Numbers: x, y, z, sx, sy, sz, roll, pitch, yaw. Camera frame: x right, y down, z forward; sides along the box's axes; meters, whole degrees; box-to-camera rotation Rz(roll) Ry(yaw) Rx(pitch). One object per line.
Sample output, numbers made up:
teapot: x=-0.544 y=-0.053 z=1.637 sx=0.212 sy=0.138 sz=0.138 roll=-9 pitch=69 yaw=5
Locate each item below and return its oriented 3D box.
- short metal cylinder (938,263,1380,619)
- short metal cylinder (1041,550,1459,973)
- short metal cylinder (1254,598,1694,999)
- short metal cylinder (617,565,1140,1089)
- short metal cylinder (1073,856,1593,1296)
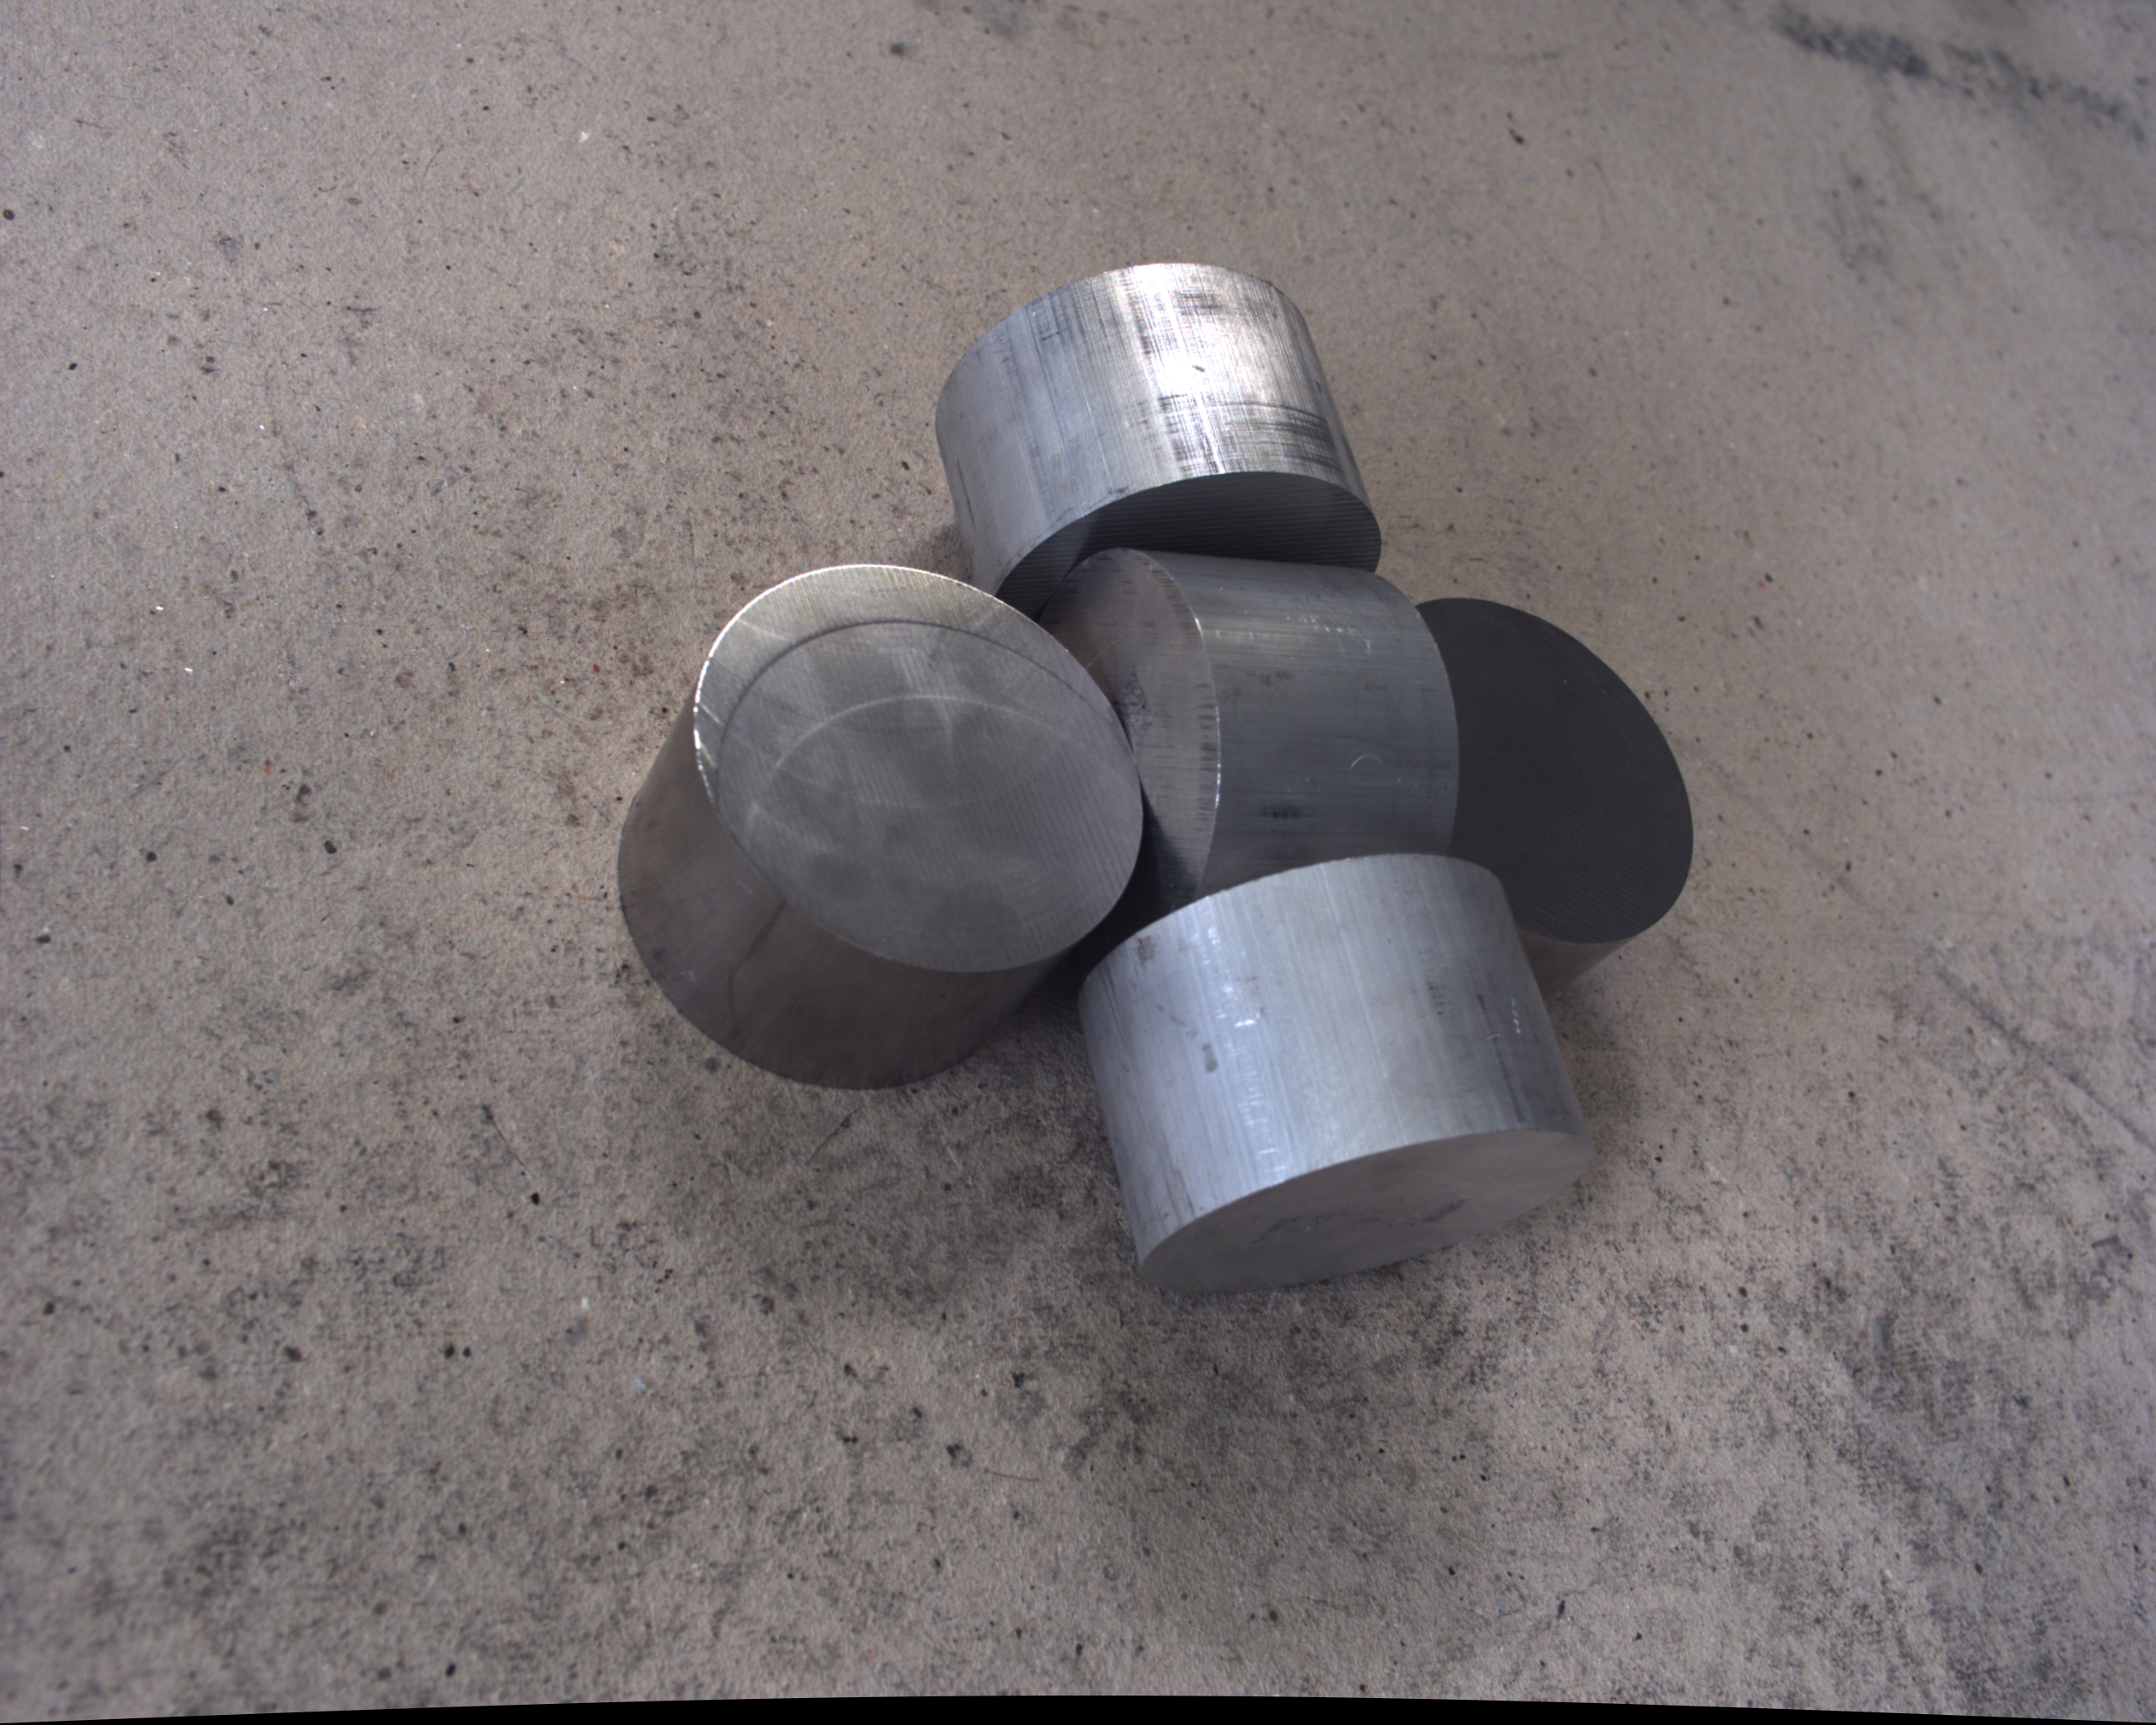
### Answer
short metal cylinder: x=0.015 y=-0.075 z=0.424 sx=0.081 sy=0.080 sz=0.050 roll=0 pitch=62 yaw=-28
short metal cylinder: x=0.027 y=-0.017 z=0.396 sx=0.050 sy=0.080 sz=0.080 roll=0 pitch=62 yaw=-28
short metal cylinder: x=0.080 y=-0.008 z=0.436 sx=0.081 sy=0.050 sz=0.080 roll=13 pitch=57 yaw=-21
short metal cylinder: x=-0.036 y=-0.006 z=0.373 sx=0.081 sy=0.050 sz=0.080 roll=14 pitch=55 yaw=-21
short metal cylinder: x=0.044 y=0.040 z=0.370 sx=0.081 sy=0.080 sz=0.050 roll=0 pitch=62 yaw=-28
